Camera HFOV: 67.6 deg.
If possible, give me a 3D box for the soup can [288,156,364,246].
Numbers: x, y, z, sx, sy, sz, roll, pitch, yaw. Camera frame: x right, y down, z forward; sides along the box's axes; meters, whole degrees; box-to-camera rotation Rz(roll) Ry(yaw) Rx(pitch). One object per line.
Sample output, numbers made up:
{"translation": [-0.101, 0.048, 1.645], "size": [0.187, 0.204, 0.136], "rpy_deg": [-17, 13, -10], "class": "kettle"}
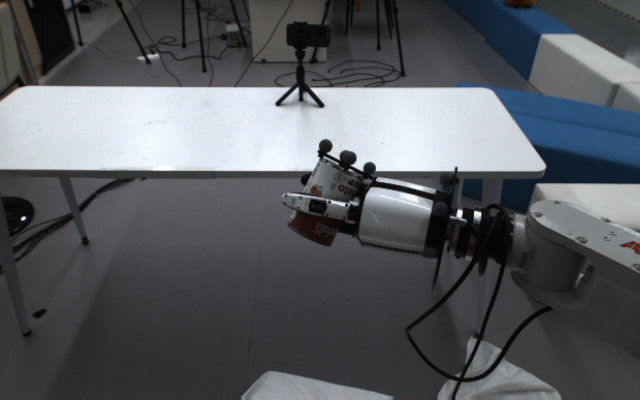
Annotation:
{"translation": [0.009, 0.002, 0.646], "size": [0.067, 0.101, 0.067], "rpy_deg": [26, 6, -3], "class": "soup can"}
